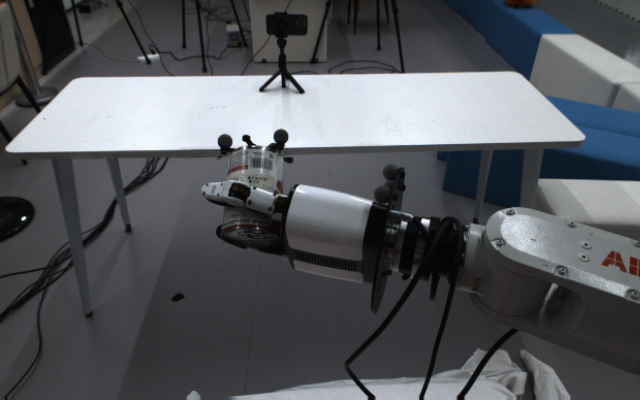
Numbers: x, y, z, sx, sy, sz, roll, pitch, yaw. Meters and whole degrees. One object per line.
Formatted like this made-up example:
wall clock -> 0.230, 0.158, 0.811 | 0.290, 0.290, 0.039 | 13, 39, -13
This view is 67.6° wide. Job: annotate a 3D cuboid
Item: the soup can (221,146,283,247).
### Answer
soup can -> -0.074, -0.003, 0.556 | 0.067, 0.067, 0.101 | 1, 68, -1
